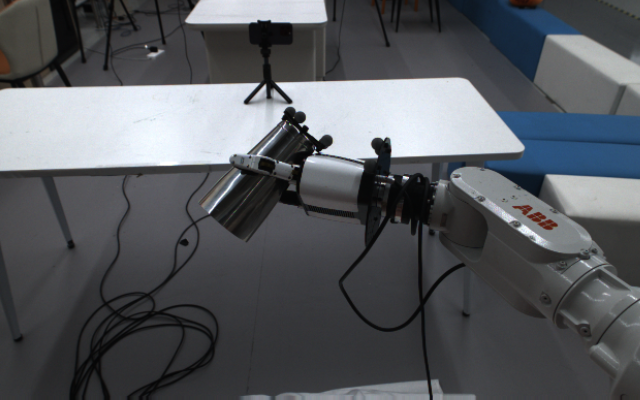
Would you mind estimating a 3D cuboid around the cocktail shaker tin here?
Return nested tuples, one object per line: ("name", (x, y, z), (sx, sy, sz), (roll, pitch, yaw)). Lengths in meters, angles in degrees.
("cocktail shaker tin", (-0.086, -0.036, 0.709), (0.170, 0.093, 0.093), (-48, 49, -4))
